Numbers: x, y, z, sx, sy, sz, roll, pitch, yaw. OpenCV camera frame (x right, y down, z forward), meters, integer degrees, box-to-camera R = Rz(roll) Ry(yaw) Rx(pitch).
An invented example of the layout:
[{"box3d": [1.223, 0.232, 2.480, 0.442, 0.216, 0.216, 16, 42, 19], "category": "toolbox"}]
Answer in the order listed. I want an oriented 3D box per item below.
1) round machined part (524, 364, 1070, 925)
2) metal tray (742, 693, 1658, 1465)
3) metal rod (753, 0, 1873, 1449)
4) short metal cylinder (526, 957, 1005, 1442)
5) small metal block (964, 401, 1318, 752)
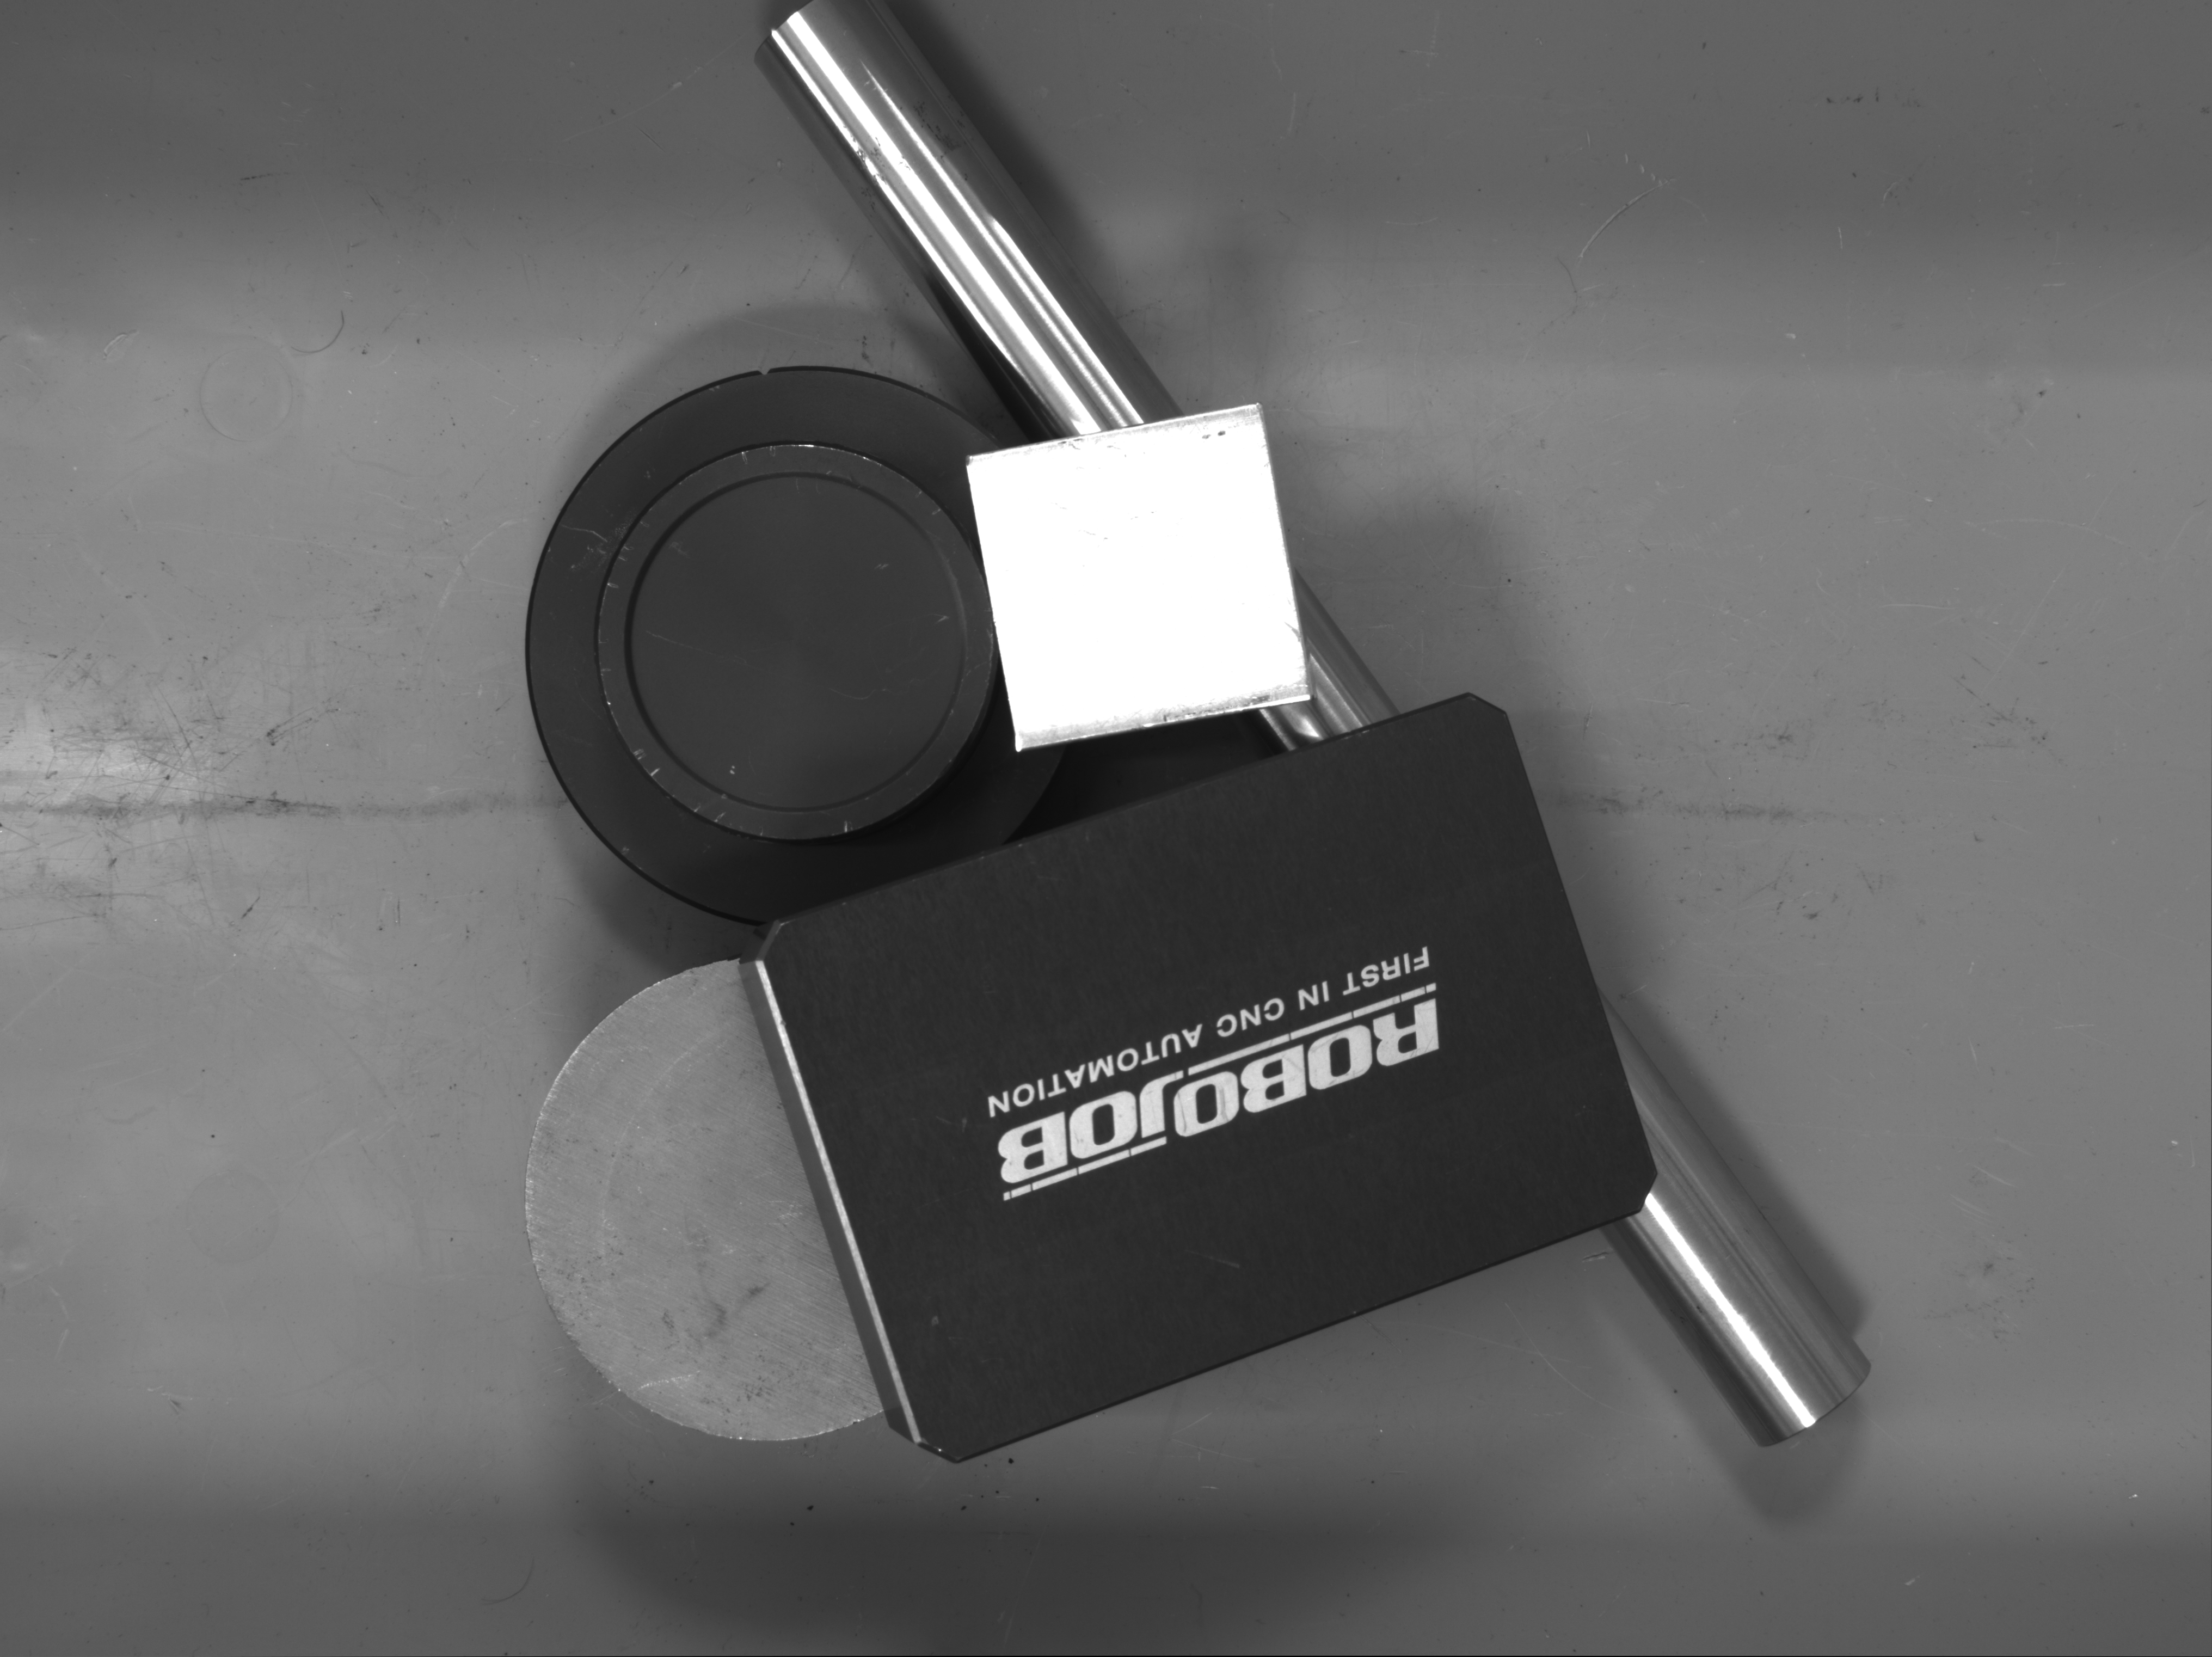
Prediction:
[{"box3d": [-0.052, -0.032, 0.635, 0.098, 0.042, 0.098, 0, 90, 1], "category": "round machined part"}, {"box3d": [0.015, 0.040, 0.604, 0.130, 0.030, 0.090, -18, 90, -13], "category": "metal tray"}, {"box3d": [0.036, -0.020, 0.645, 0.025, 0.025, 0.300, -36, 90, 0], "category": "metal rod"}, {"box3d": [-0.056, 0.061, 0.632, 0.080, 0.050, 0.080, 0, 90, 0], "category": "short metal cylinder"}, {"box3d": [0.006, -0.042, 0.621, 0.050, 0.025, 0.050, -10, 92, 5], "category": "small metal block"}]
